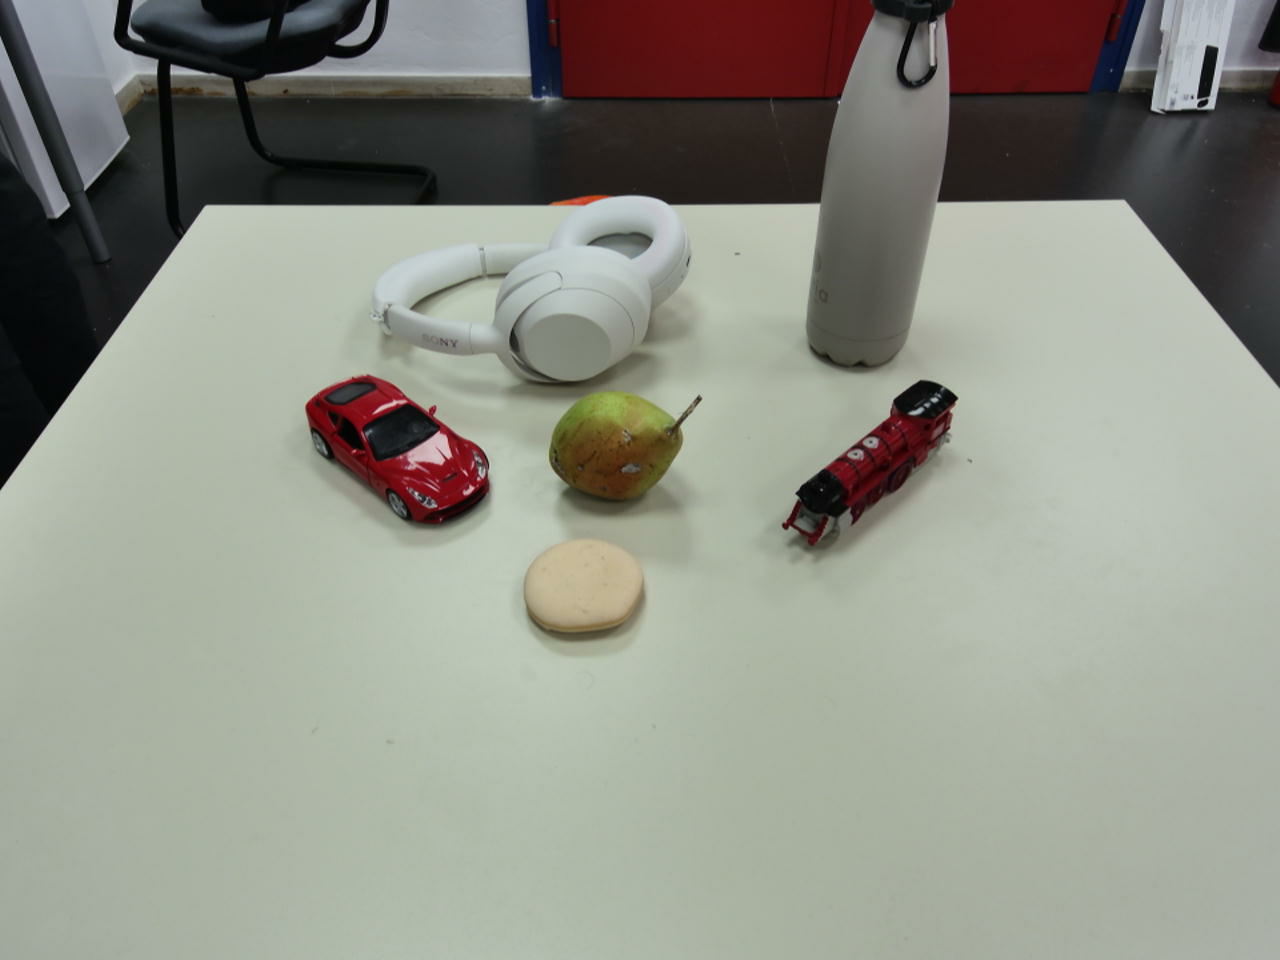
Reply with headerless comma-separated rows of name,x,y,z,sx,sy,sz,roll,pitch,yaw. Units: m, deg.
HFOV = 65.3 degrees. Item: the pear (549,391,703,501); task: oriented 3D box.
pear,-0.013,-0.021,0.570,0.068,0.069,0.070,-28,46,-29
